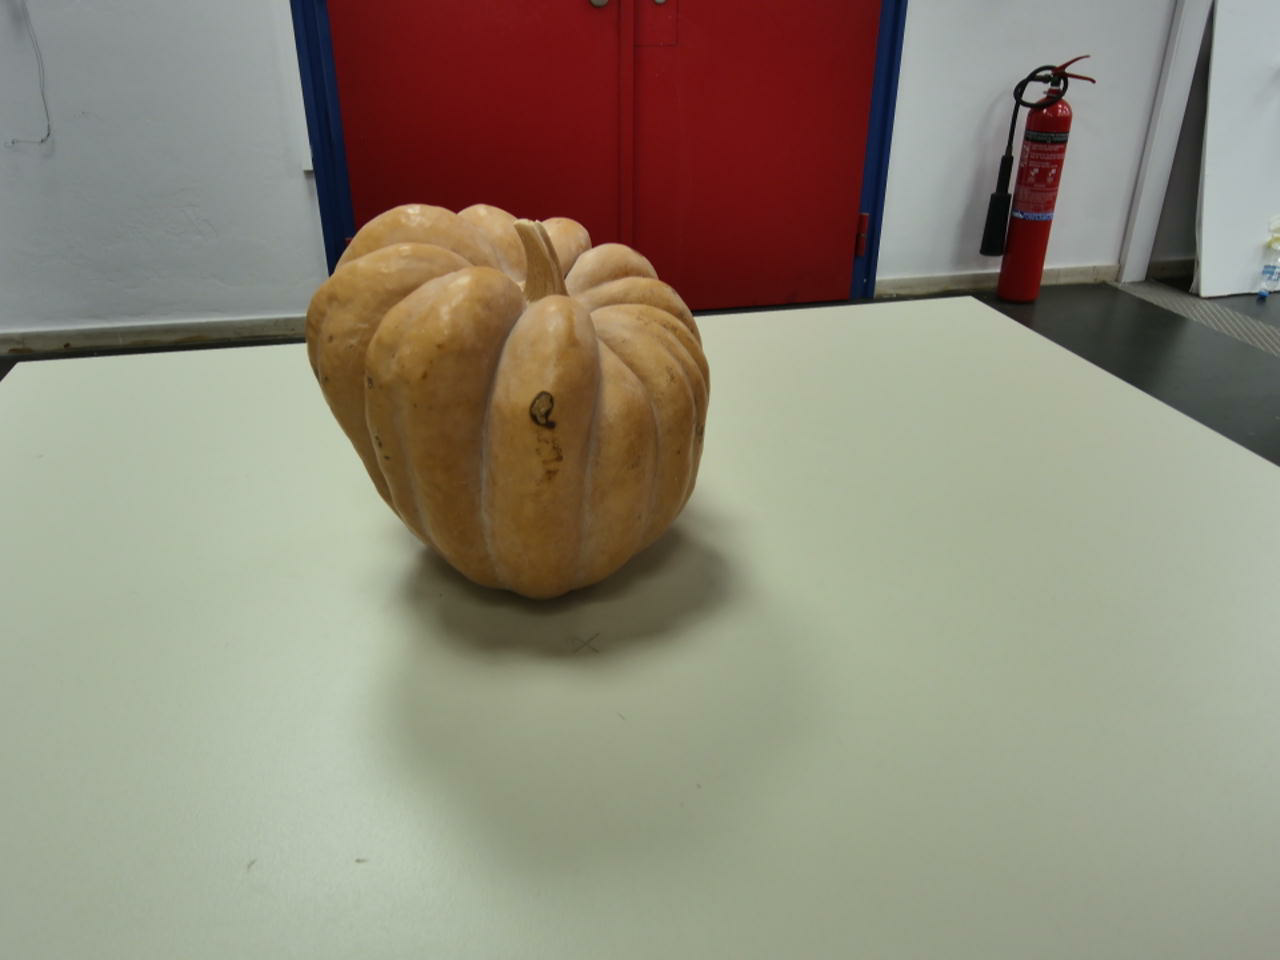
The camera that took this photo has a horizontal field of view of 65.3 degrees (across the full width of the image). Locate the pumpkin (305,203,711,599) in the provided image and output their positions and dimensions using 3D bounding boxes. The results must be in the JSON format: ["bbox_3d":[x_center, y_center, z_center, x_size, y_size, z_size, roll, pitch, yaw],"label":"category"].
[{"bbox_3d":[-0.059,-0.041,0.485,0.199,0.177,0.198,0,26,0],"label":"pumpkin"}]
